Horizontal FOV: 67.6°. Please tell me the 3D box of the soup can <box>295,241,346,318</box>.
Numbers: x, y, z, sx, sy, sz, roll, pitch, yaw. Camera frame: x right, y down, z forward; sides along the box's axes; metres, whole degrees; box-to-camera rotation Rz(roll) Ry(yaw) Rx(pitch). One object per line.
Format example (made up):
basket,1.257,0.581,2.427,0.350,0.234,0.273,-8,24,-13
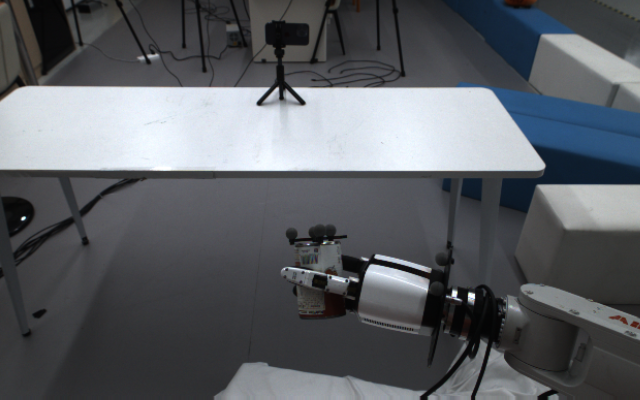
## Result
soup can,0.003,0.111,0.672,0.067,0.101,0.067,-5,-5,0
